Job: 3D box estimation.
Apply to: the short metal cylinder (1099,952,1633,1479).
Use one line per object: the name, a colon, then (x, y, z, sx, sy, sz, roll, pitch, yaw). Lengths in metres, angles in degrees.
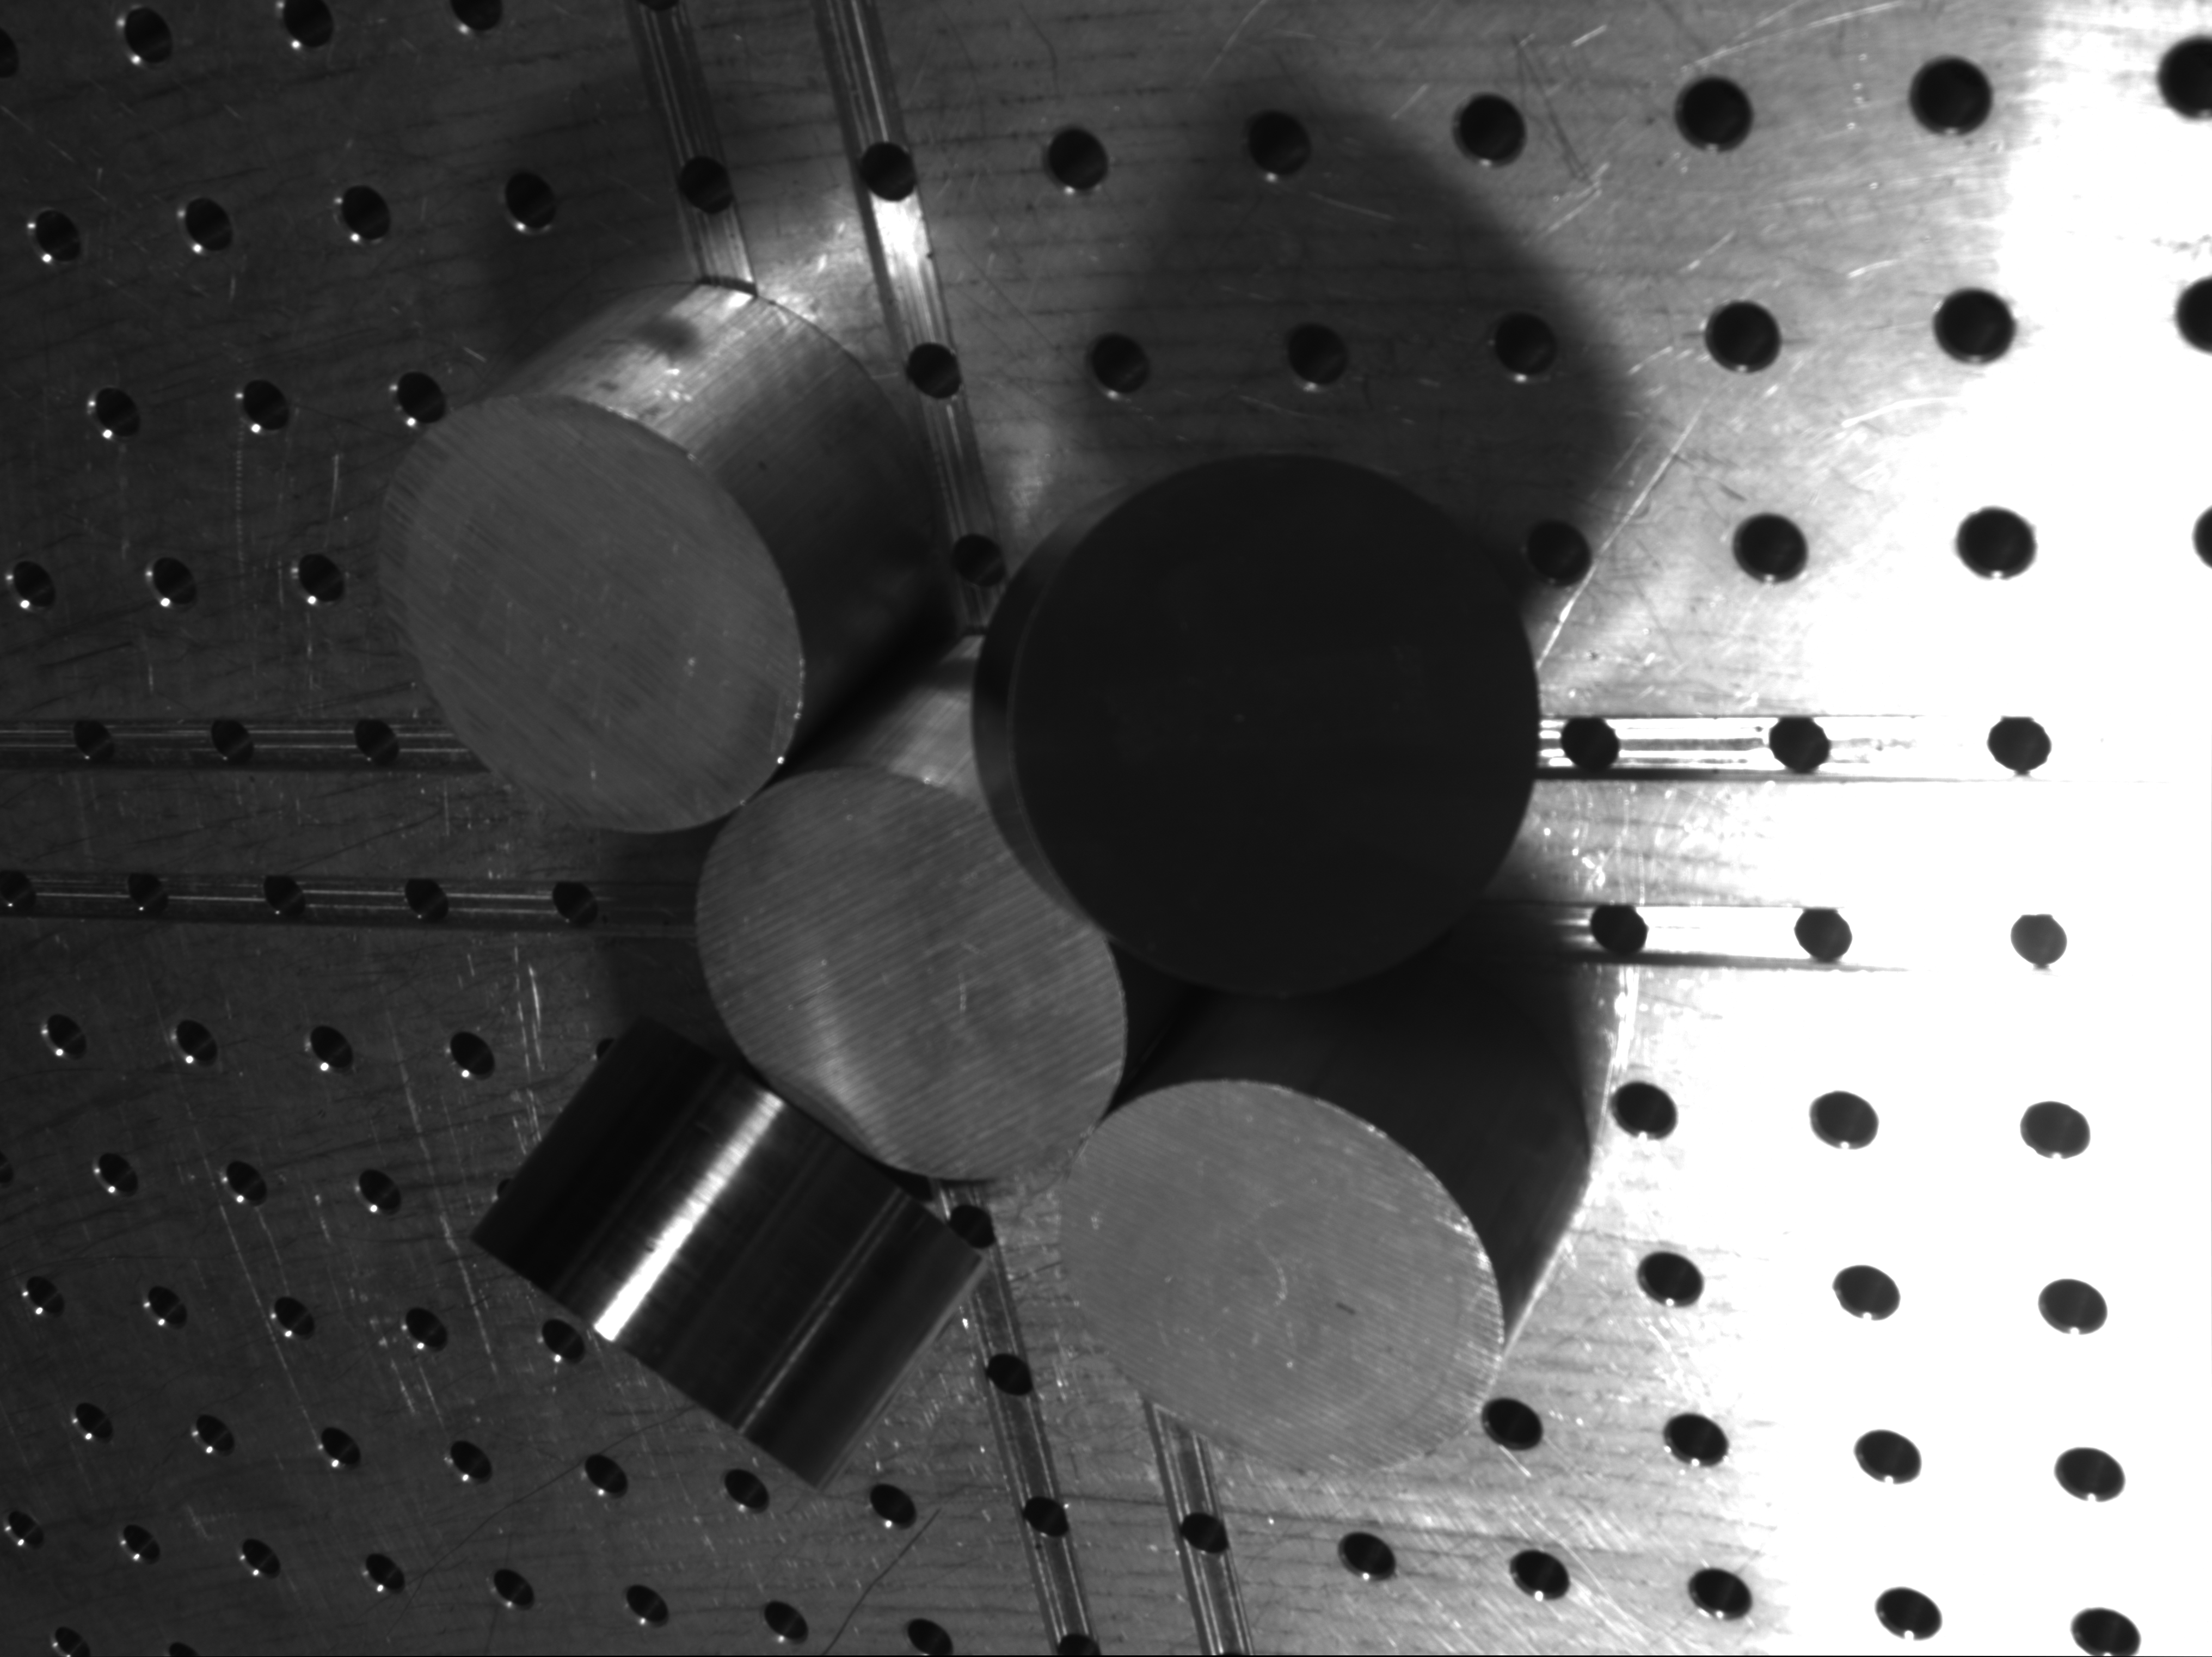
short metal cylinder: (0.045, 0.065, 0.634, 0.080, 0.050, 0.080, 12, 123, 20)

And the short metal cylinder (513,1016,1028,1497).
short metal cylinder: (-0.061, 0.078, 0.669, 0.080, 0.050, 0.080, 34, 170, 7)

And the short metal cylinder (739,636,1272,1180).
short metal cylinder: (-0.016, 0.014, 0.634, 0.080, 0.050, 0.080, 12, 123, 20)

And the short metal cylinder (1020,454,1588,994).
short metal cylinder: (0.029, -0.017, 0.568, 0.080, 0.050, 0.080, 0, 93, -8)

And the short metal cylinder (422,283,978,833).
short metal cylinder: (-0.069, -0.046, 0.624, 0.080, 0.050, 0.080, 12, 123, 20)
